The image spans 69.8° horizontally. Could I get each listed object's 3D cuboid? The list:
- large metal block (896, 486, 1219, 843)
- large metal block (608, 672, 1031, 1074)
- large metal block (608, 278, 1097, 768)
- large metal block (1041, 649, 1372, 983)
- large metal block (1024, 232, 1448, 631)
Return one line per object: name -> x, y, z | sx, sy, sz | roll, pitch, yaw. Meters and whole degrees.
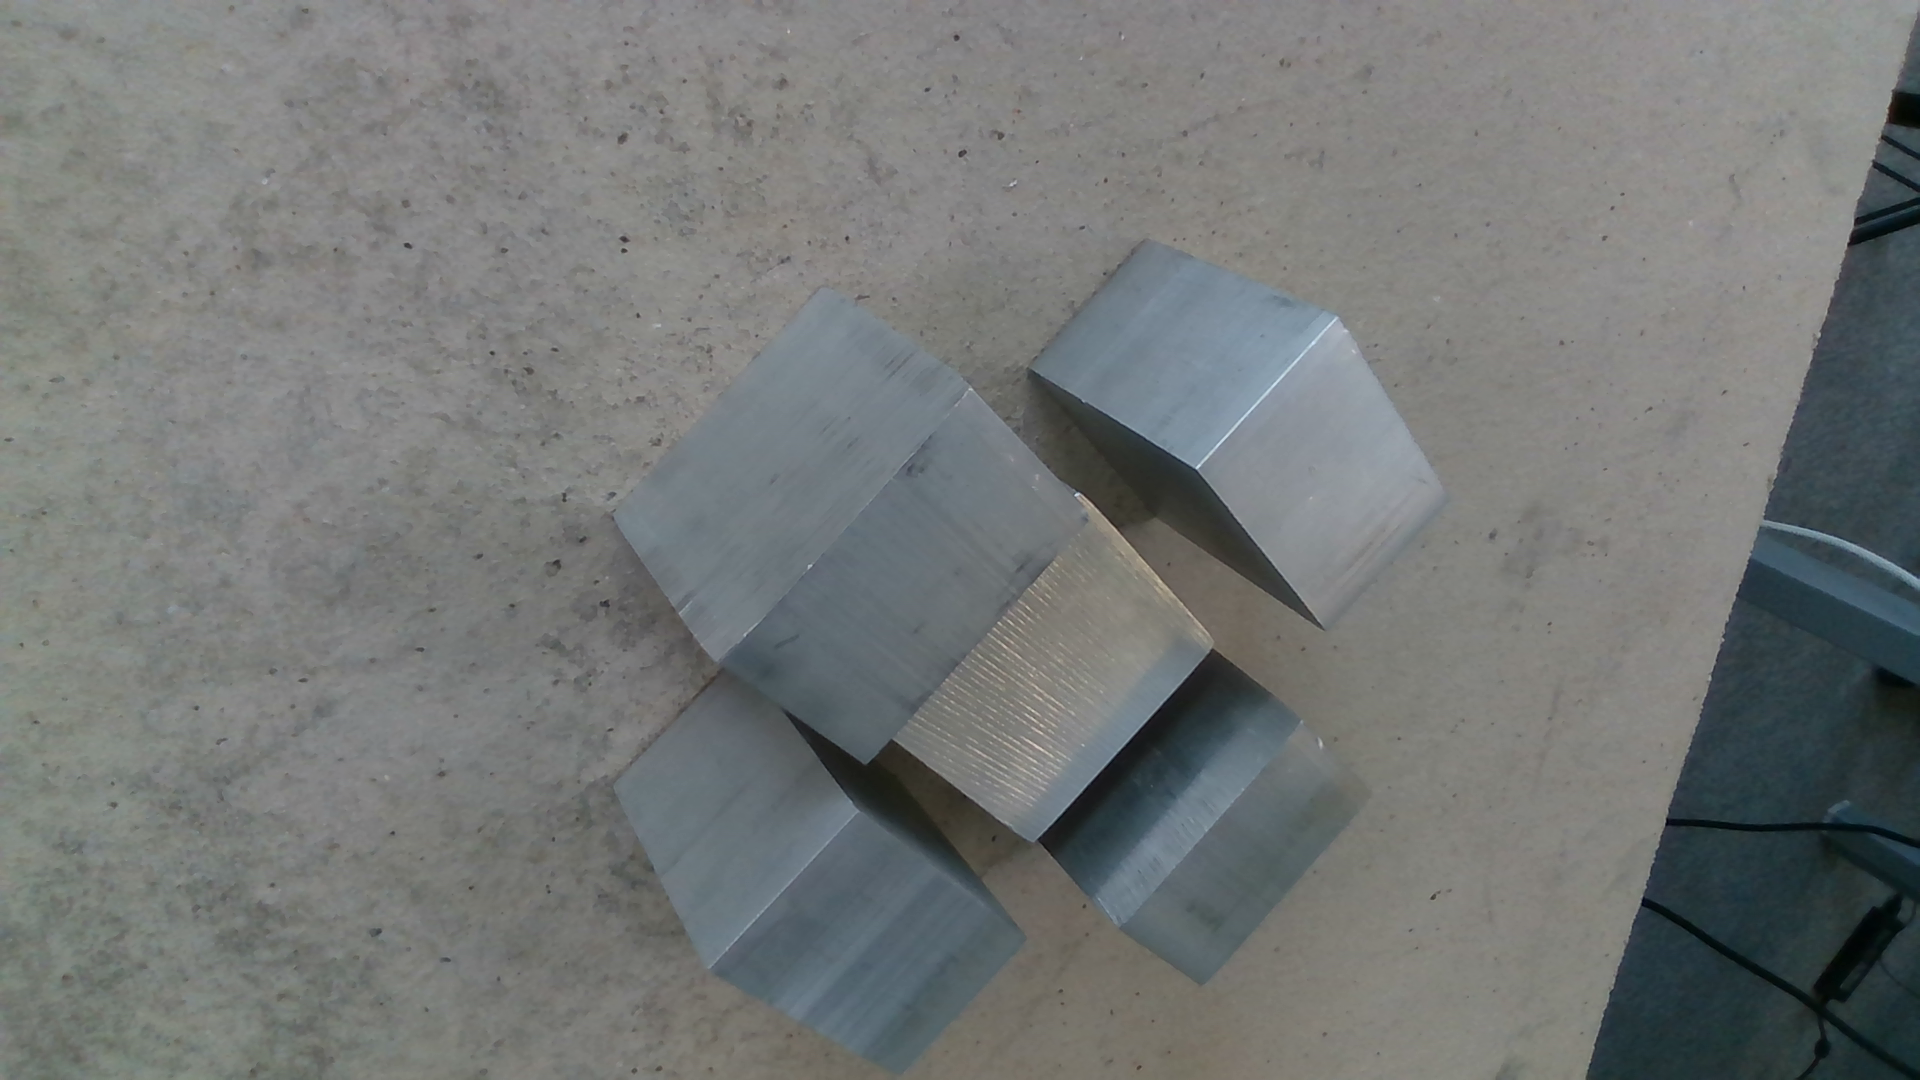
large metal block -> 0.014, 0.027, 0.394 | 0.080, 0.050, 0.080 | -47, 129, -1
large metal block -> -0.039, 0.087, 0.377 | 0.050, 0.080, 0.080 | -46, 129, -3
large metal block -> -0.028, -0.007, 0.333 | 0.080, 0.080, 0.050 | -48, 129, -1
large metal block -> 0.066, 0.076, 0.436 | 0.080, 0.080, 0.050 | -48, 130, -1
large metal block -> 0.077, -0.031, 0.385 | 0.050, 0.080, 0.080 | -48, 130, -1
